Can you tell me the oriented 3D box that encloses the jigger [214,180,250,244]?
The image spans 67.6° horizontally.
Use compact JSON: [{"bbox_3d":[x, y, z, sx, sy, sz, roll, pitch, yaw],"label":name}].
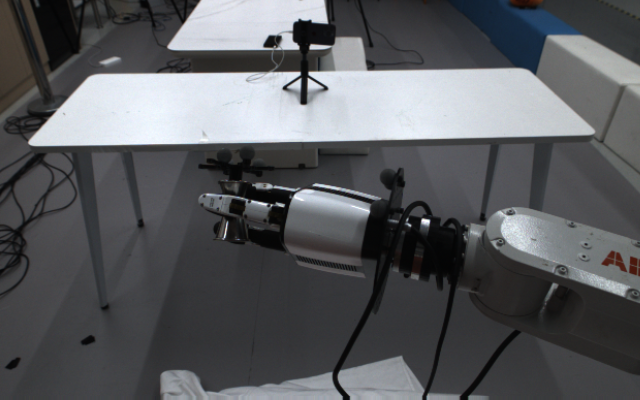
[{"bbox_3d":[-0.099,0.014,0.559,0.043,0.071,0.043,2,-6,0],"label":"jigger"}]
